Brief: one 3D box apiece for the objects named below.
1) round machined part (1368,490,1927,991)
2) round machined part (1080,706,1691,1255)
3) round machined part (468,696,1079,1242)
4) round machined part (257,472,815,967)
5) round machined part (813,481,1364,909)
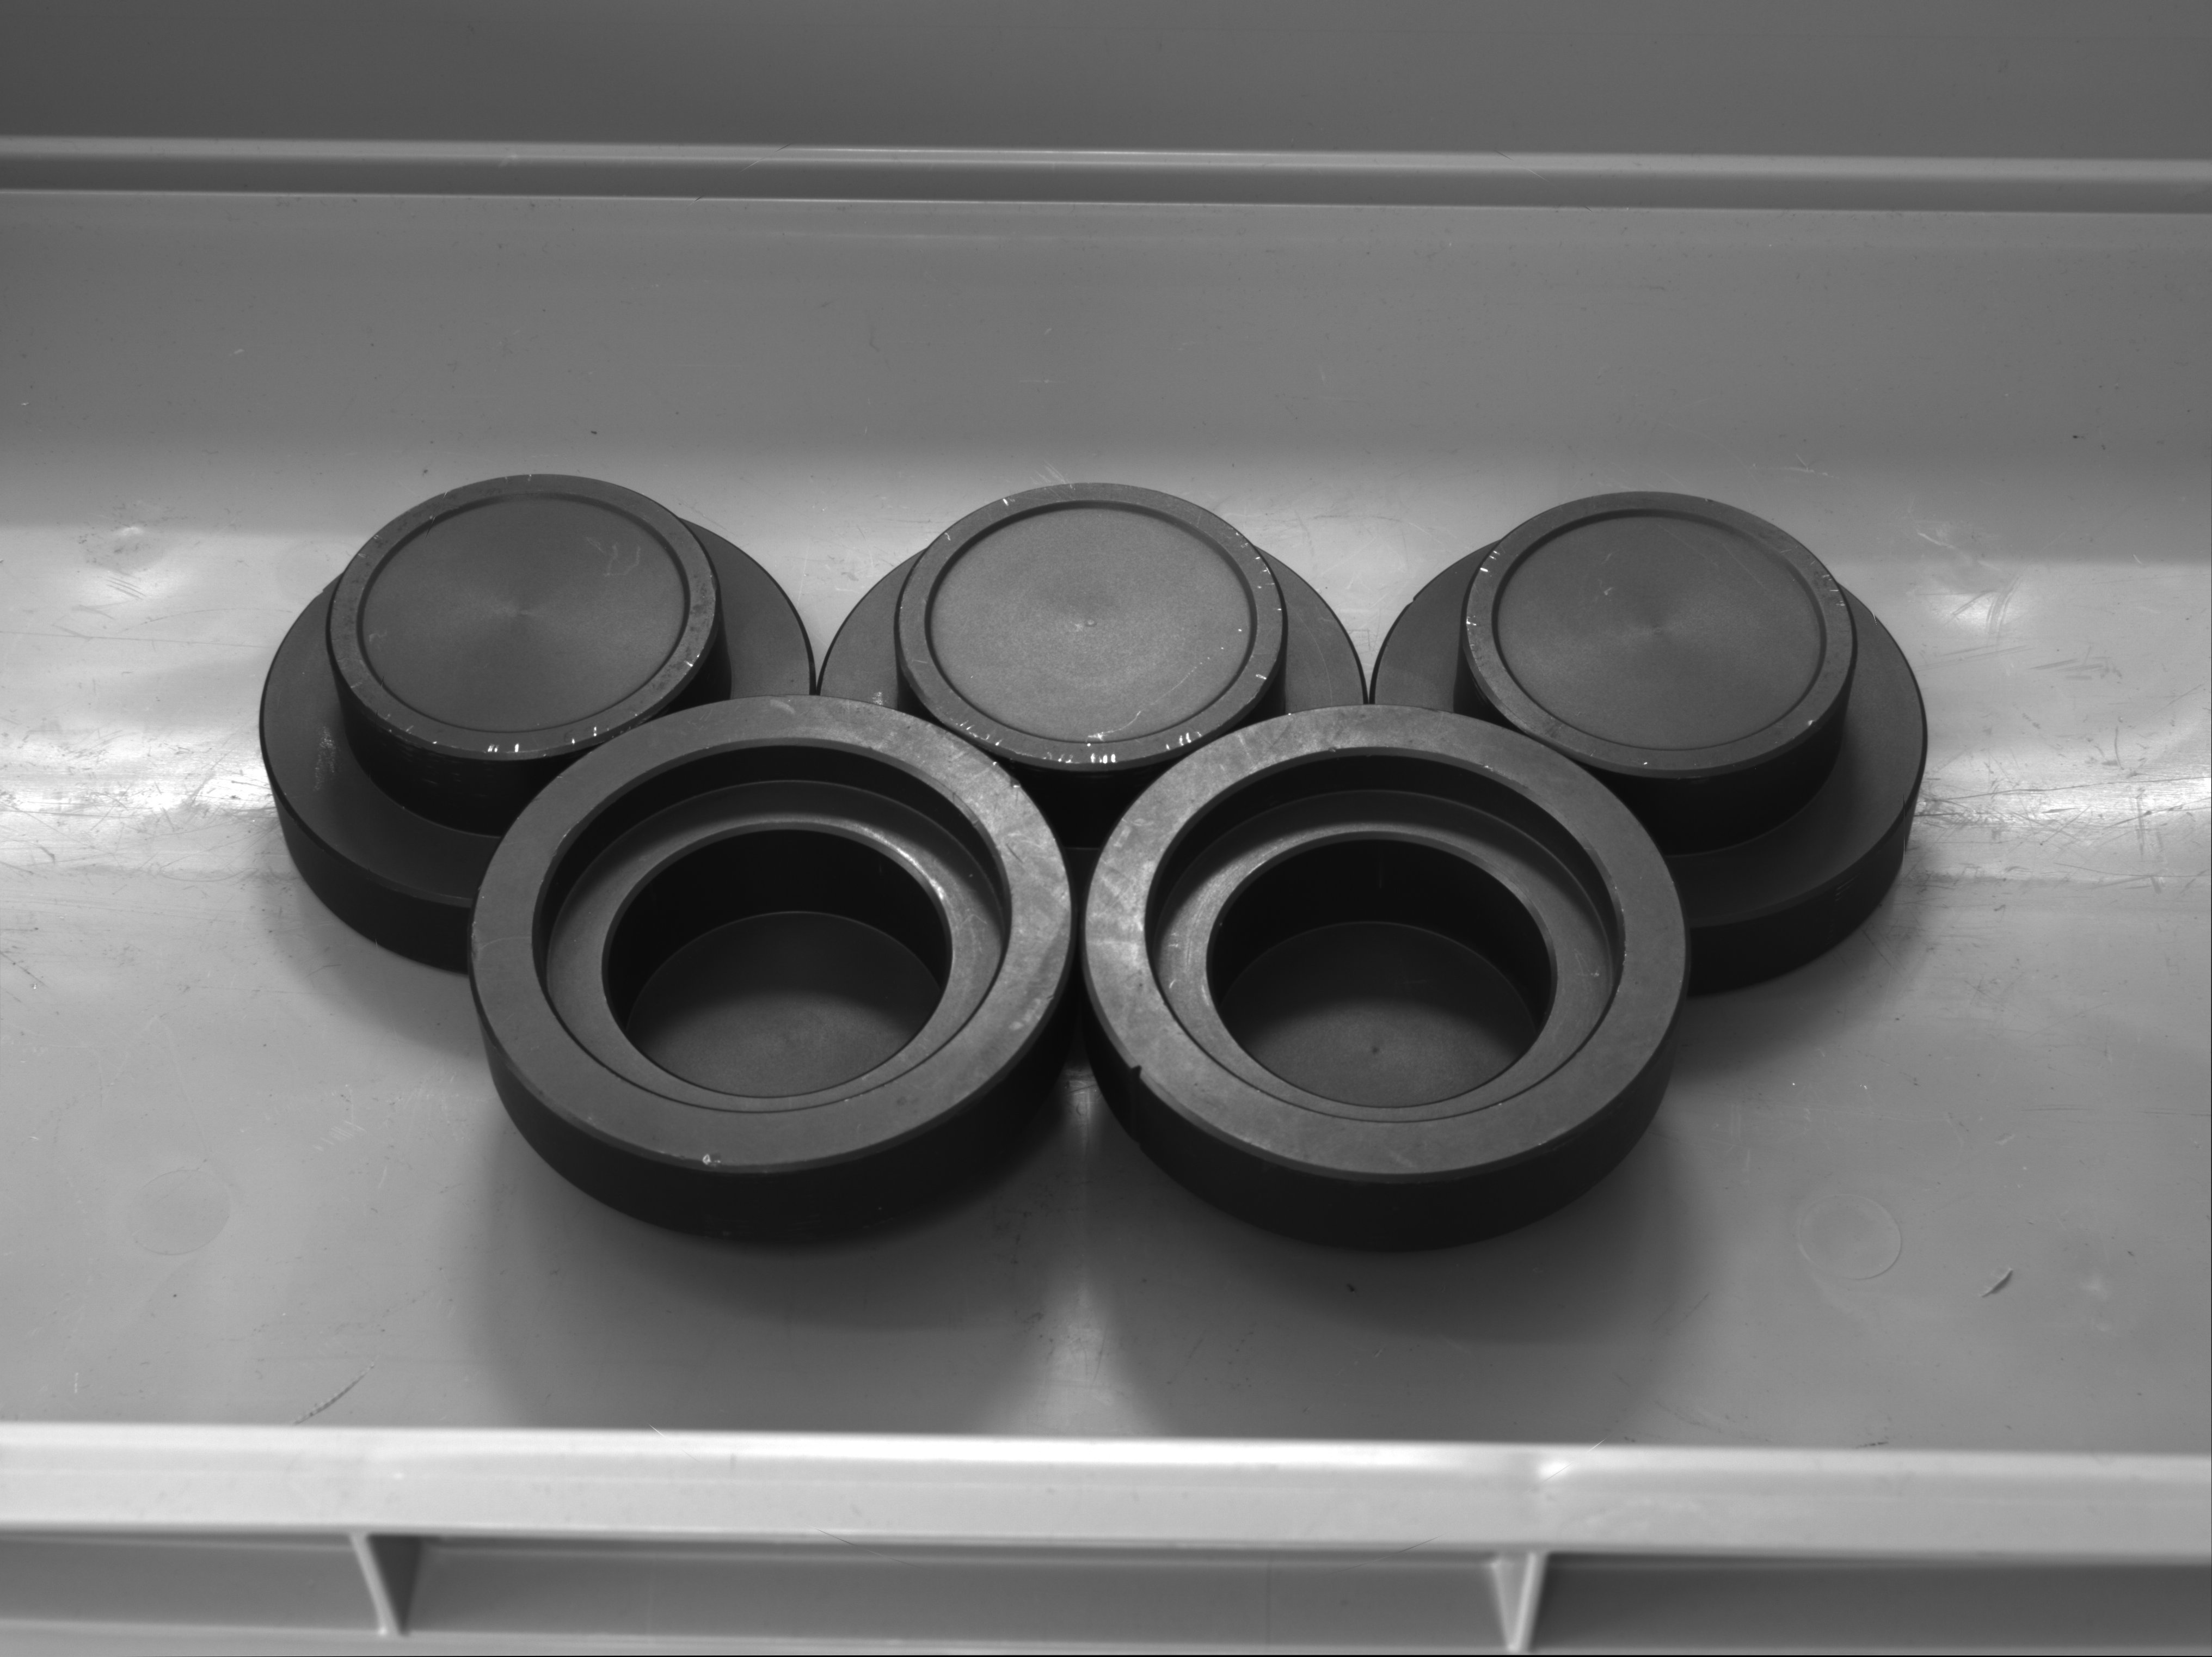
[{"bbox_3d":[0.095,-0.021,0.646,0.098,0.042,0.098,0,49,1],"label":"round machined part"},{"bbox_3d":[0.045,0.030,0.604,0.098,0.042,0.098,0,50,0],"label":"round machined part"},{"bbox_3d":[-0.053,0.028,0.605,0.098,0.042,0.098,0,50,0],"label":"round machined part"},{"bbox_3d":[-0.101,-0.025,0.649,0.098,0.042,0.098,1,49,-1],"label":"round machined part"},{"bbox_3d":[-0.003,-0.023,0.648,0.098,0.042,0.098,0,49,1],"label":"round machined part"}]
